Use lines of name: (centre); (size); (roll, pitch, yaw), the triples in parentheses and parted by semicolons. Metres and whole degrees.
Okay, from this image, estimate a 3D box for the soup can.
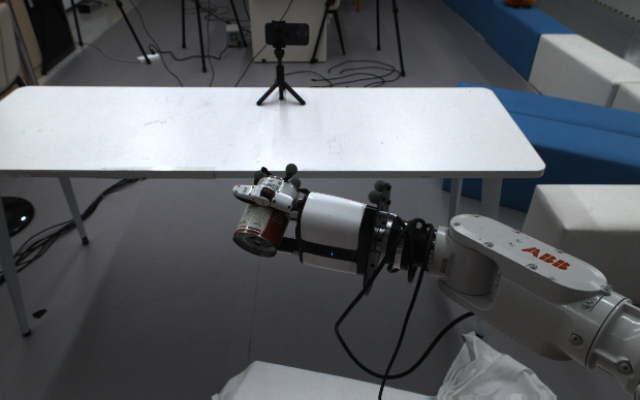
soup can: (-0.077, 0.023, 0.709); (0.067, 0.067, 0.101); (12, 59, 14)
